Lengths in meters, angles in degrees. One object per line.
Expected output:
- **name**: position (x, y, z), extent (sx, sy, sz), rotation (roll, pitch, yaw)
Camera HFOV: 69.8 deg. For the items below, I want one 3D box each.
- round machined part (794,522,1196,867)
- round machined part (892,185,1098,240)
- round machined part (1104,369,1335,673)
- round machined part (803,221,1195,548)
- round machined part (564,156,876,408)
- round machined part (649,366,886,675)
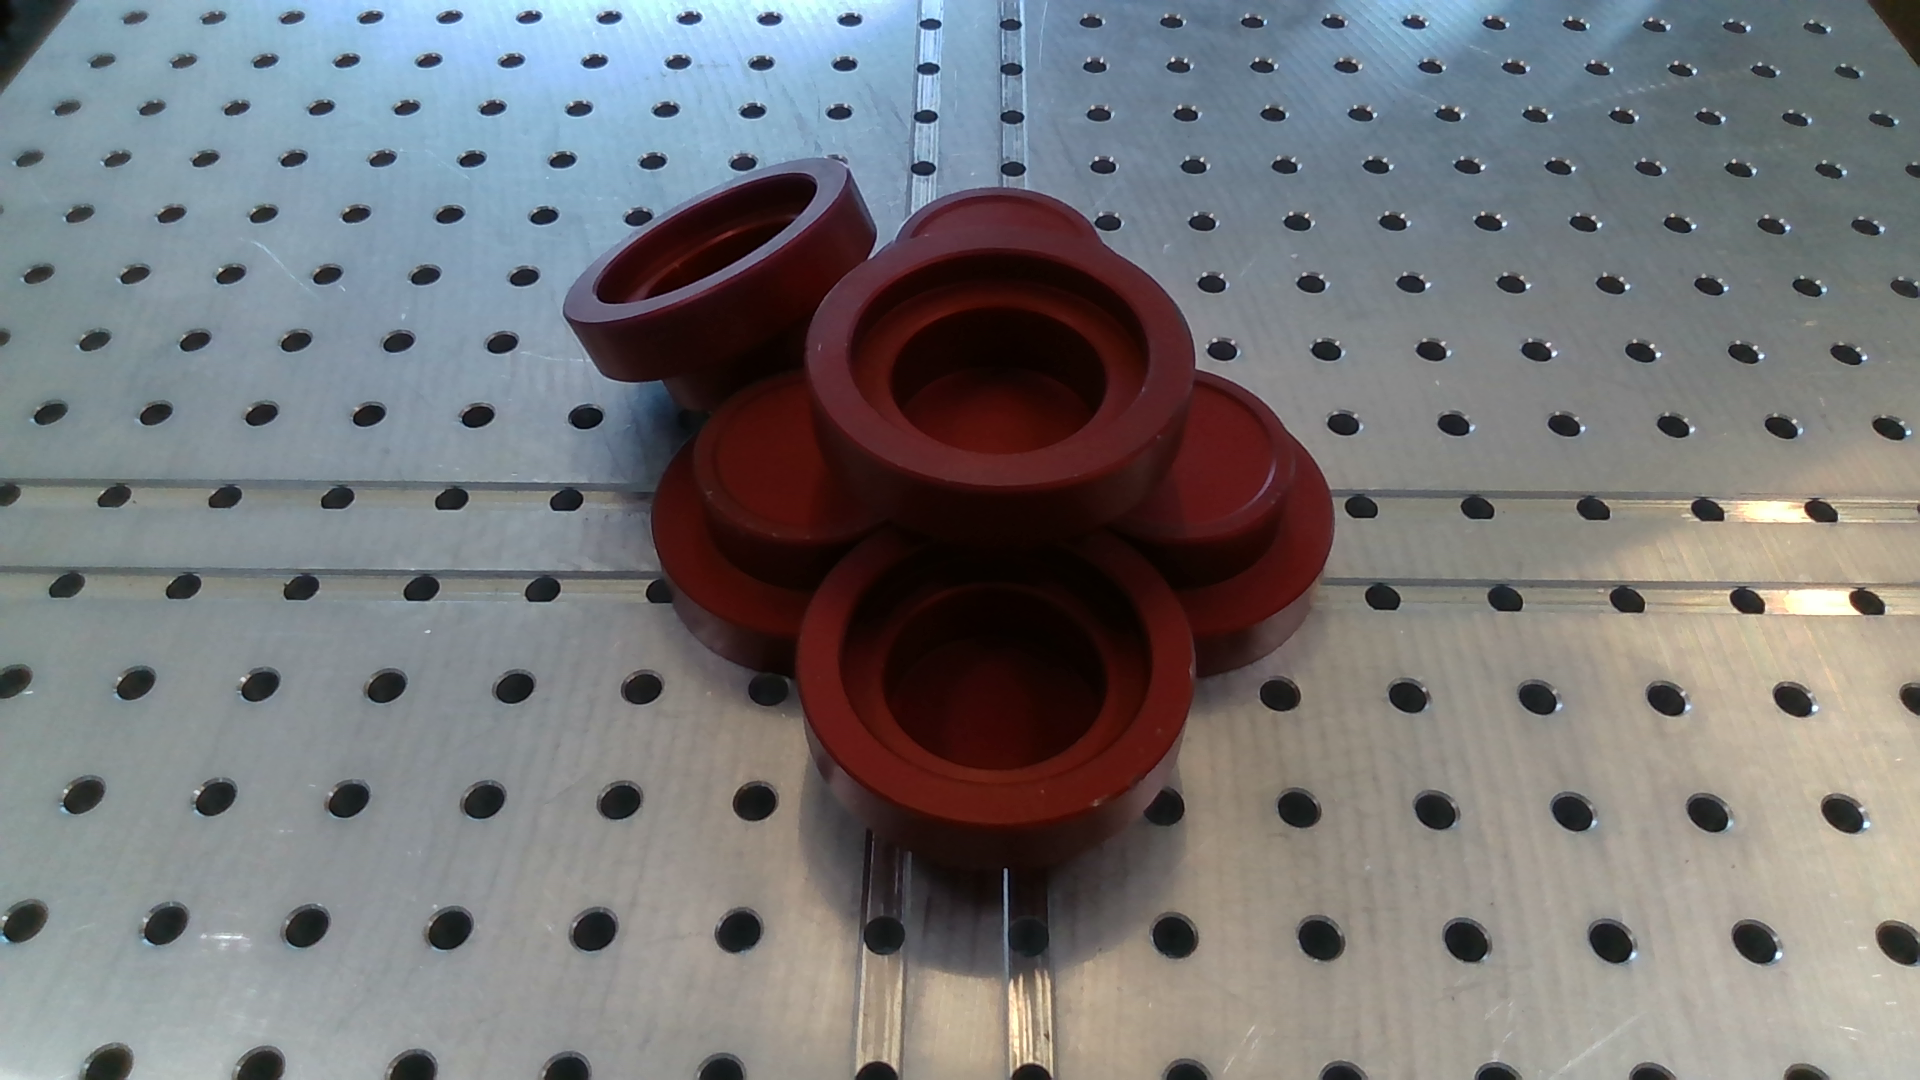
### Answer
- **round machined part**: position (0.009, 0.039, 0.352), extent (0.098, 0.042, 0.098), rotation (0, 50, 0)
- **round machined part**: position (0.012, -0.079, 0.451), extent (0.098, 0.042, 0.098), rotation (0, 50, 0)
- **round machined part**: position (0.059, -0.013, 0.396), extent (0.098, 0.042, 0.098), rotation (0, 50, 0)
- **round machined part**: position (0.010, -0.037, 0.360), extent (0.098, 0.042, 0.098), rotation (0, 50, 0)
- **round machined part**: position (-0.071, -0.078, 0.434), extent (0.098, 0.042, 0.098), rotation (-18, 33, 13)
- **round machined part**: position (-0.040, -0.013, 0.396), extent (0.098, 0.042, 0.098), rotation (0, 50, 0)
